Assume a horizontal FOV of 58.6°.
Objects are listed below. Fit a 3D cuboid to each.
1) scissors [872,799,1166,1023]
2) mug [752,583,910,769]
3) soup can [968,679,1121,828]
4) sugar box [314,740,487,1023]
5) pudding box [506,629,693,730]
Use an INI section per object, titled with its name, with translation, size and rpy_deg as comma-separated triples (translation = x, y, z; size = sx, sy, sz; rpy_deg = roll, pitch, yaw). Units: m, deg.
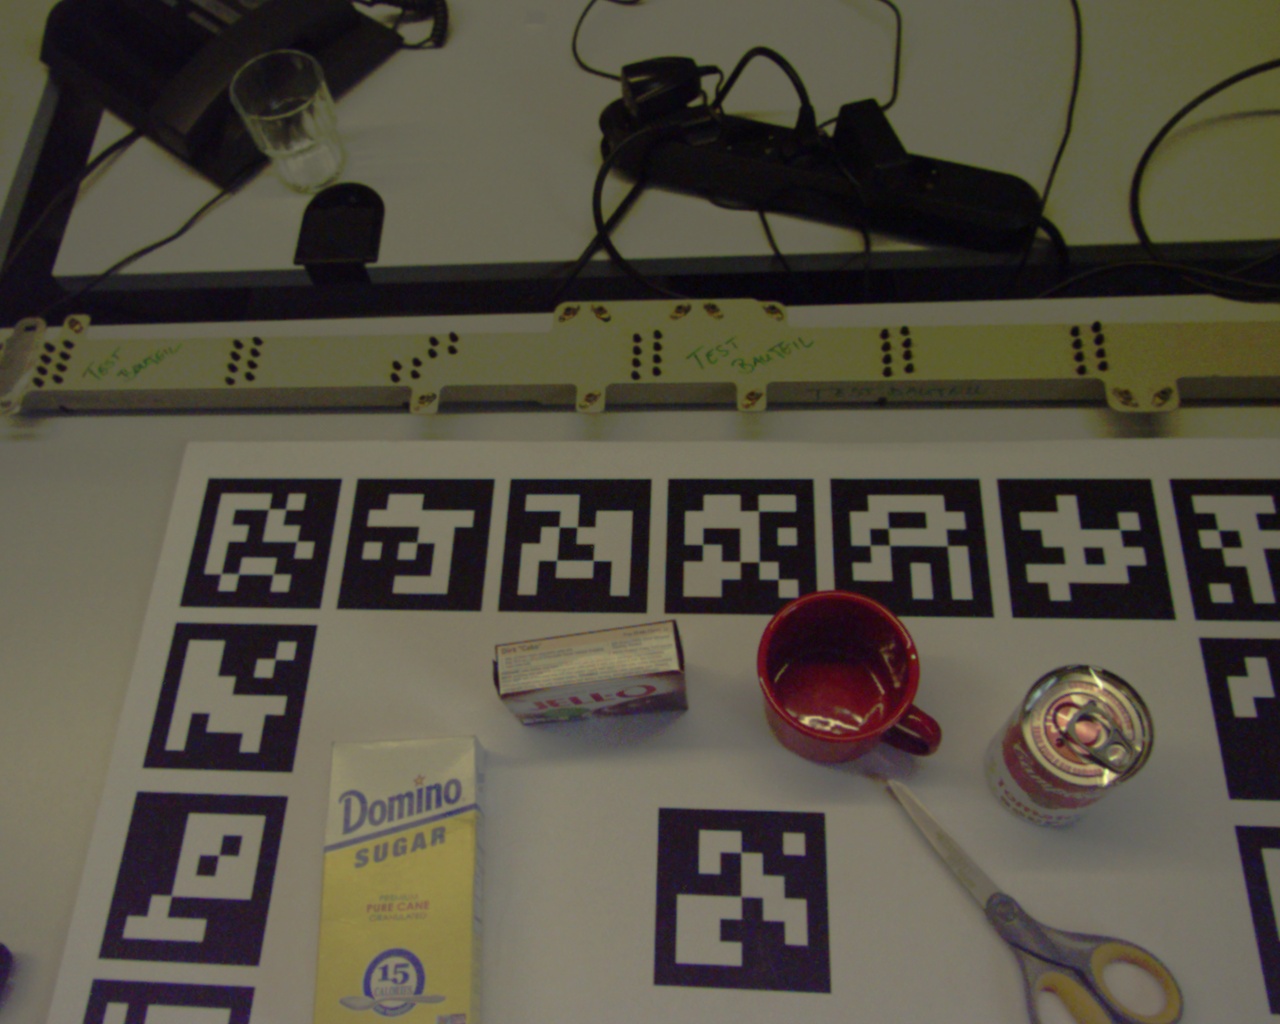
[scissors]
translation = 0.214, 0.249, 0.678
size = 0.087, 0.016, 0.204
rpy_deg = -42, 69, -2
[mug]
translation = 0.125, 0.111, 0.716
size = 0.093, 0.081, 0.118
rpy_deg = -34, 66, -7
[soup can]
translation = 0.239, 0.148, 0.684
size = 0.068, 0.101, 0.068
rpy_deg = -3, 64, 5
[sugar box]
translation = -0.147, 0.235, 0.713
size = 0.093, 0.045, 0.177
rpy_deg = -3, 67, 6
[pudding box]
translation = -0.024, 0.107, 0.725
size = 0.114, 0.089, 0.039
rpy_deg = -8, 72, 1
